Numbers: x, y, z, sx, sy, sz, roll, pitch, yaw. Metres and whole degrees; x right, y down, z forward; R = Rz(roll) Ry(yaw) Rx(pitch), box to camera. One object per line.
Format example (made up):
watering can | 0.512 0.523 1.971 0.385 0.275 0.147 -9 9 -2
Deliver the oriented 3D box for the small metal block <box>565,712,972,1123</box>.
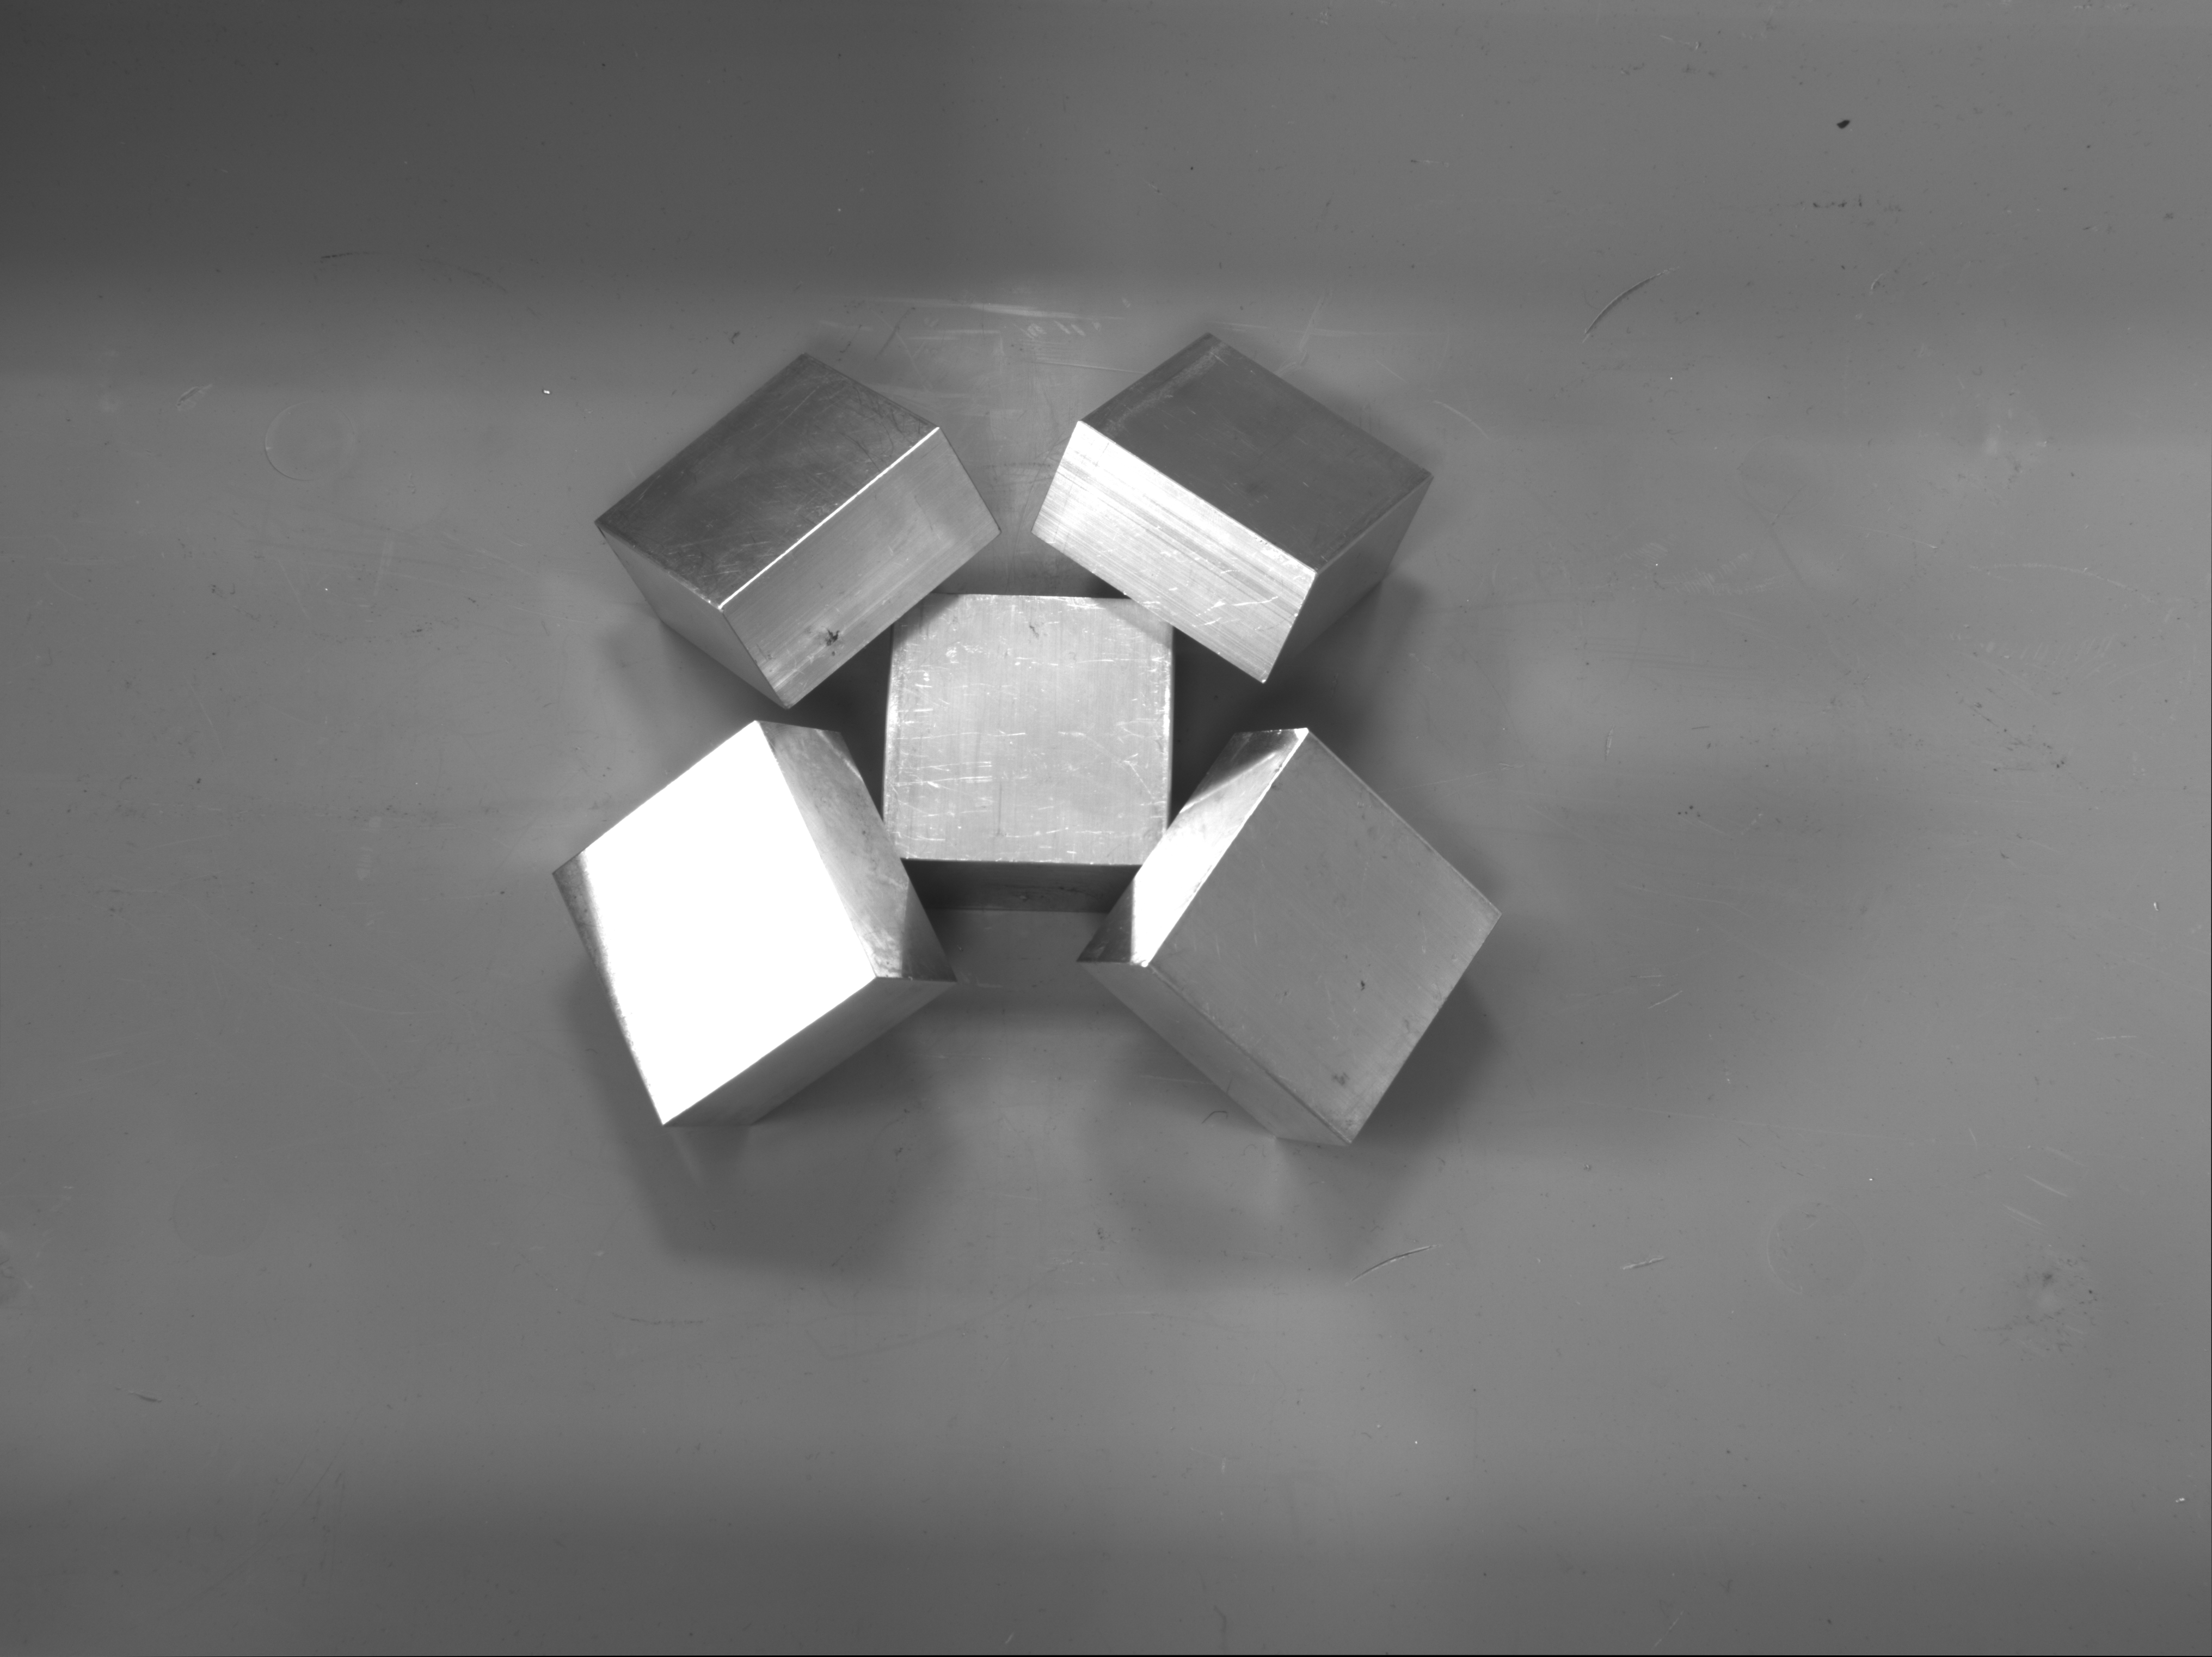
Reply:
small metal block | -0.058 0.015 0.625 0.050 0.025 0.050 -37 70 27

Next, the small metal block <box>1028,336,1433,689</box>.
small metal block | 0.023 -0.057 0.651 0.050 0.025 0.050 34 36 11

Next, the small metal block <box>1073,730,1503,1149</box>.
small metal block | 0.031 0.019 0.624 0.050 0.025 0.050 42 72 -22

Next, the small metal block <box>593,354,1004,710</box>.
small metal block | -0.055 -0.053 0.649 0.050 0.025 0.050 -41 37 -13

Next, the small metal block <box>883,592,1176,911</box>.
small metal block | -0.013 -0.013 0.647 0.050 0.025 0.050 2 70 1
